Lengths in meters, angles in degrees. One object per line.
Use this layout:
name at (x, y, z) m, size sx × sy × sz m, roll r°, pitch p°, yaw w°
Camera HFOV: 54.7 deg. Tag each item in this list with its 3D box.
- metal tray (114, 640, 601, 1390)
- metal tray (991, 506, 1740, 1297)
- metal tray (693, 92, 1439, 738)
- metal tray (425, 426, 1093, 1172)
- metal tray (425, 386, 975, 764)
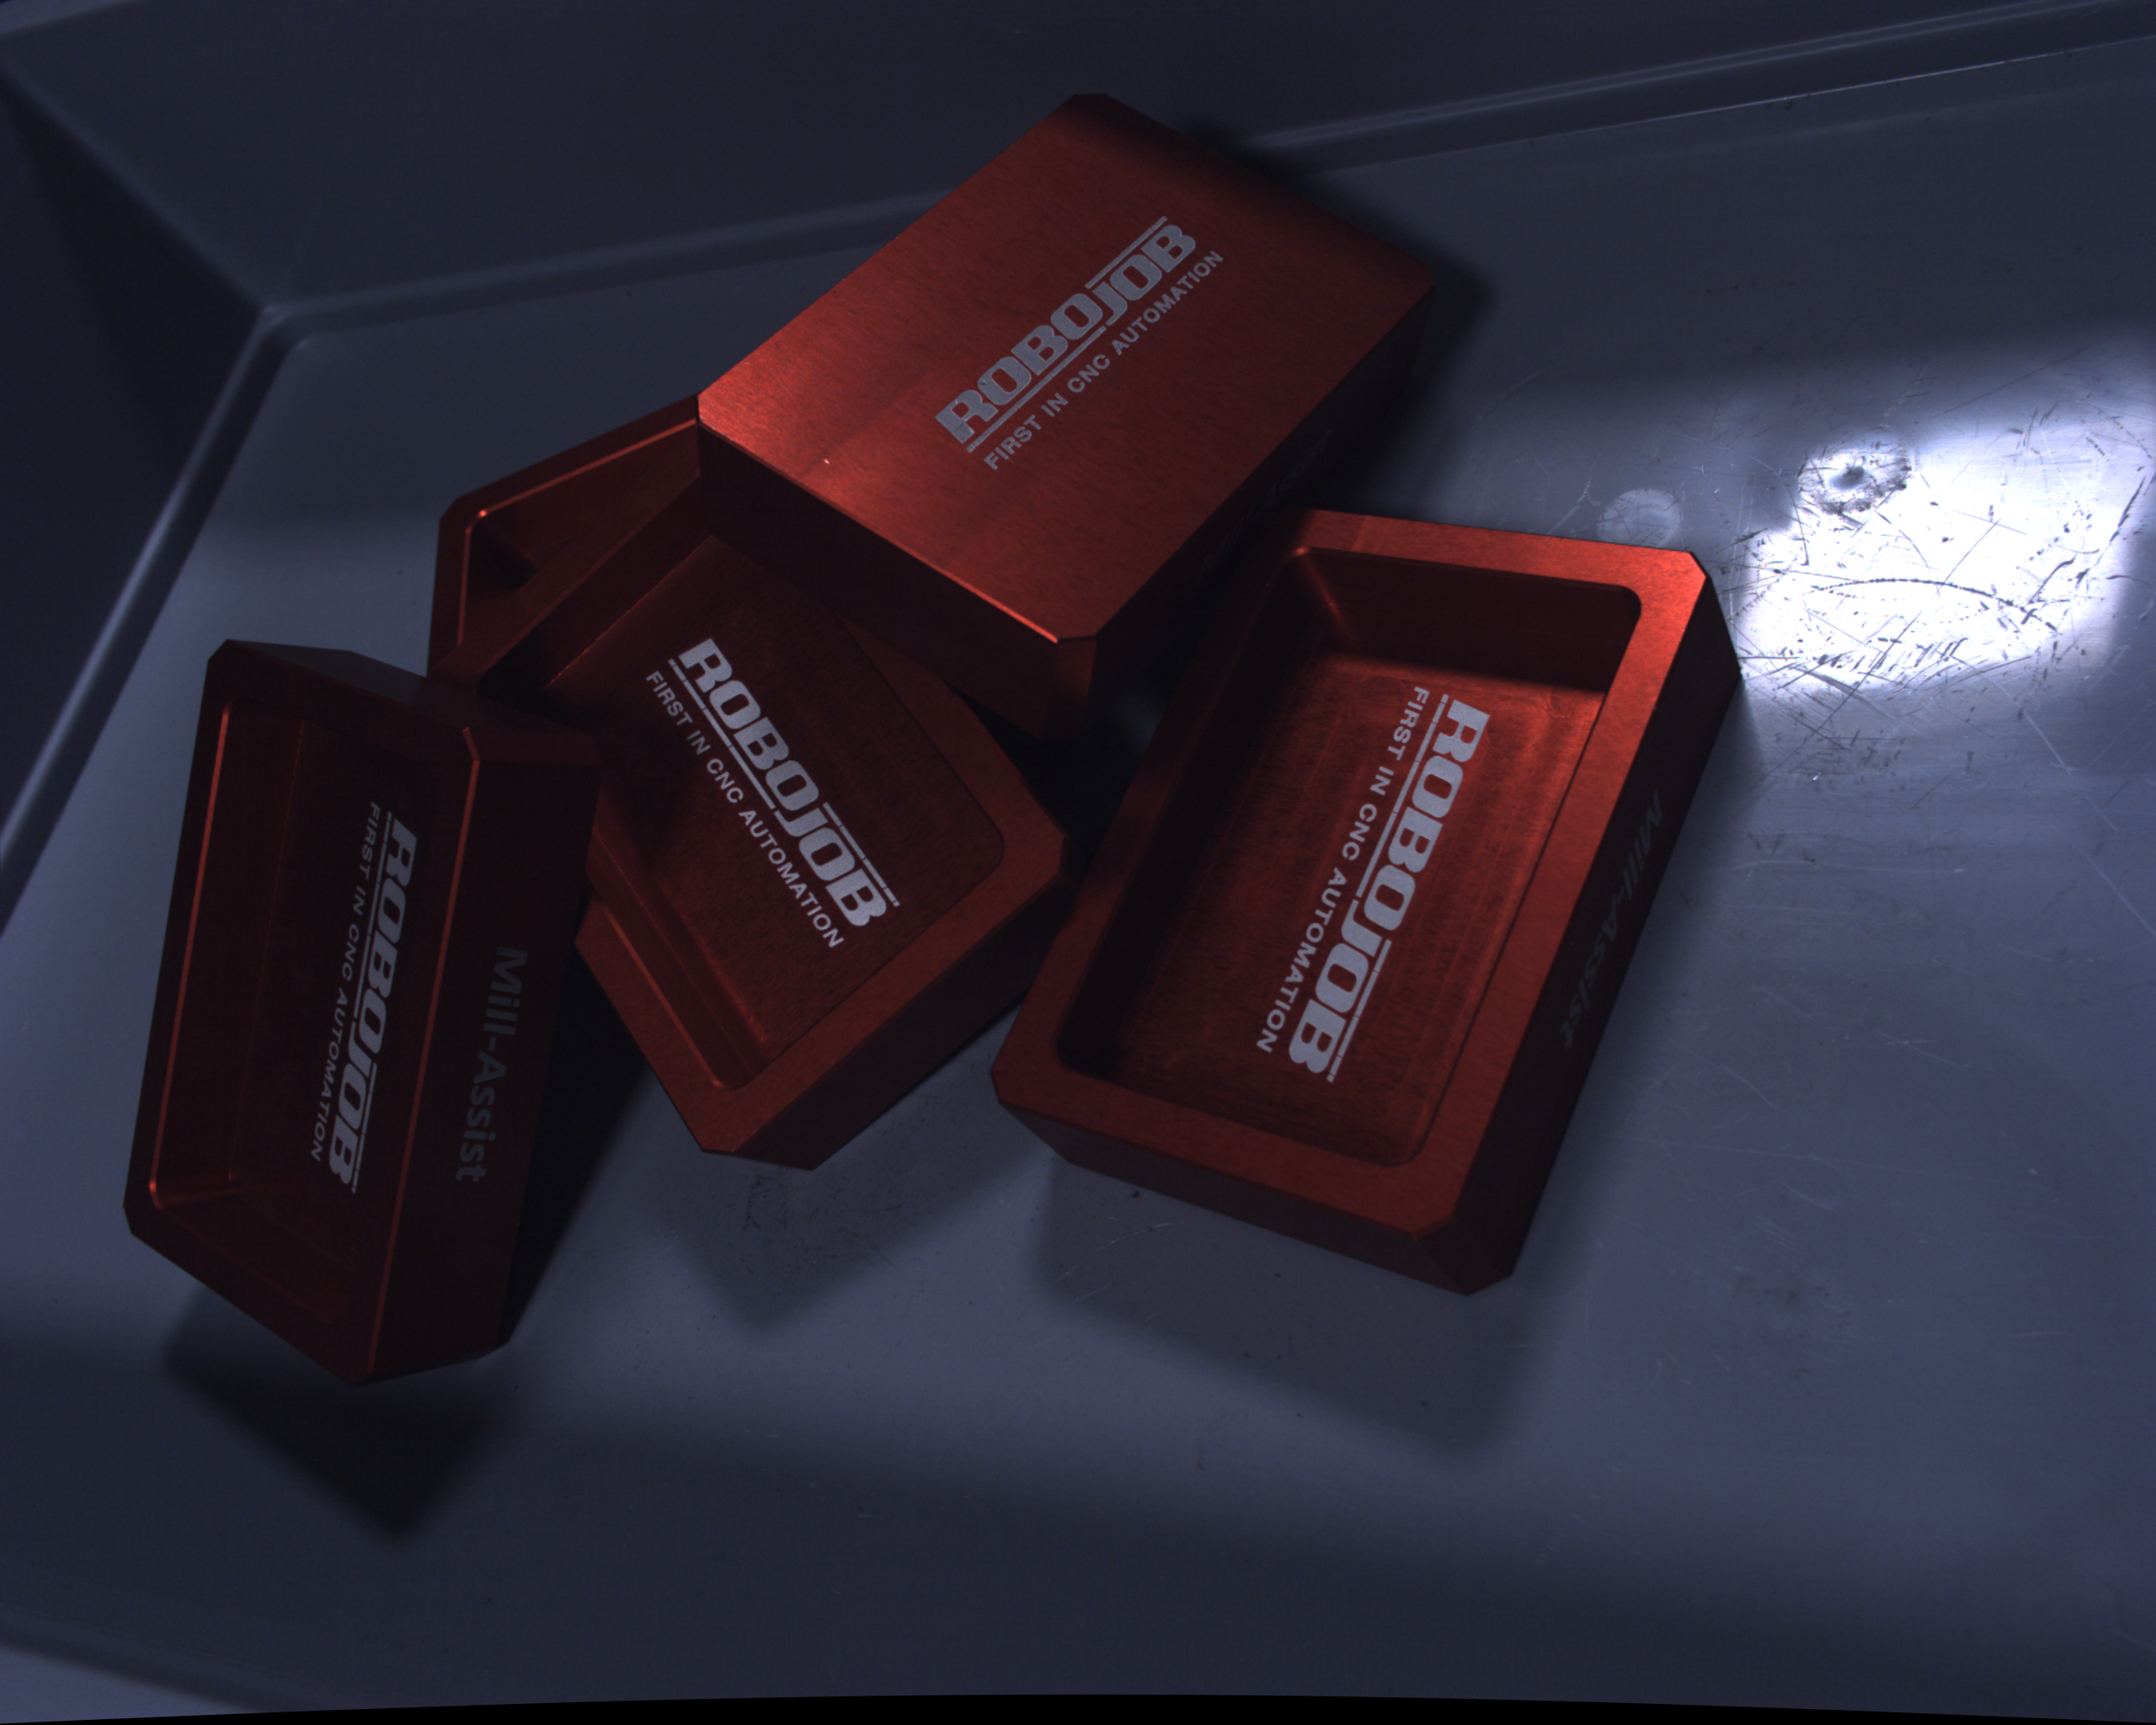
metal tray at (-0.148, 0.028, 0.421) m, size 0.090 × 0.030 × 0.129 m, roll 19°, pitch 100°, yaw 35°
metal tray at (0.052, 0.001, 0.371) m, size 0.090 × 0.030 × 0.130 m, roll 13°, pitch 68°, yaw 33°
metal tray at (0.000, -0.093, 0.412) m, size 0.090 × 0.030 × 0.131 m, roll 33°, pitch 59°, yaw 15°
metal tray at (-0.064, -0.016, 0.414) m, size 0.090 × 0.030 × 0.130 m, roll -41°, pitch 66°, yaw 8°
metal tray at (-0.089, -0.065, 0.485) m, size 0.130 × 0.030 × 0.090 m, roll -19°, pitch 54°, yaw 16°
